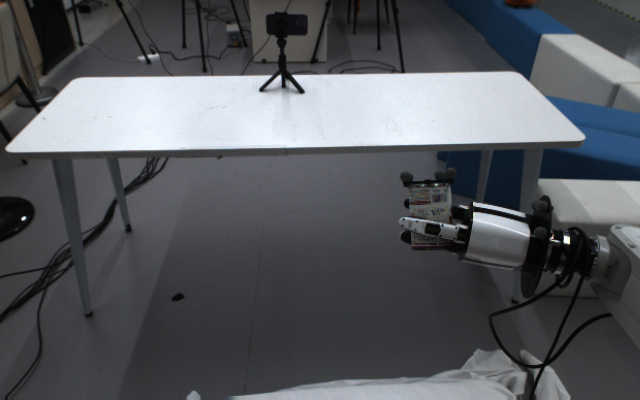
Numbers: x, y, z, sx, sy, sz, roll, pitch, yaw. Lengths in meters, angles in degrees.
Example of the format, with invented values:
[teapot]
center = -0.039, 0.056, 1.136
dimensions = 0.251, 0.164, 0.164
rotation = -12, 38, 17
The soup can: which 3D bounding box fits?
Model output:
[soup can]
center = 0.177, 0.026, 0.767
dimensions = 0.067, 0.101, 0.067
rotation = -3, -1, 0
